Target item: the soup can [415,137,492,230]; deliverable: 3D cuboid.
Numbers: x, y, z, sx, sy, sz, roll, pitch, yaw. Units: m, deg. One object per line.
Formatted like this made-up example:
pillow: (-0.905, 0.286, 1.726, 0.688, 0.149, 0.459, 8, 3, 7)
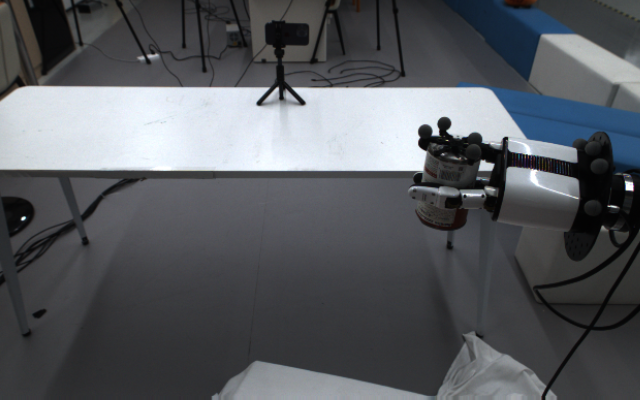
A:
soup can: (0.166, -0.022, 0.625, 0.067, 0.101, 0.067, 2, 32, -1)
